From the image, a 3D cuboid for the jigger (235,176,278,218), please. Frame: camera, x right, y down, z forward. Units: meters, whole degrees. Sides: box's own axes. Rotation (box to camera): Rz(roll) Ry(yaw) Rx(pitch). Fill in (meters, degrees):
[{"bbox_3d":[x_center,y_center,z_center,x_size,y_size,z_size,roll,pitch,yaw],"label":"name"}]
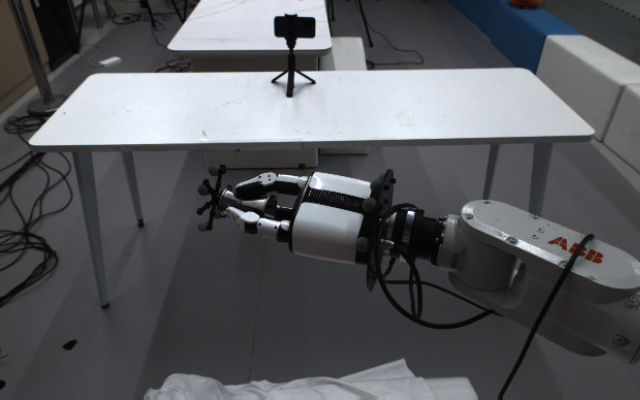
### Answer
[{"bbox_3d":[-0.093,0.005,0.667,0.071,0.043,0.043,11,36,15],"label":"jigger"}]
